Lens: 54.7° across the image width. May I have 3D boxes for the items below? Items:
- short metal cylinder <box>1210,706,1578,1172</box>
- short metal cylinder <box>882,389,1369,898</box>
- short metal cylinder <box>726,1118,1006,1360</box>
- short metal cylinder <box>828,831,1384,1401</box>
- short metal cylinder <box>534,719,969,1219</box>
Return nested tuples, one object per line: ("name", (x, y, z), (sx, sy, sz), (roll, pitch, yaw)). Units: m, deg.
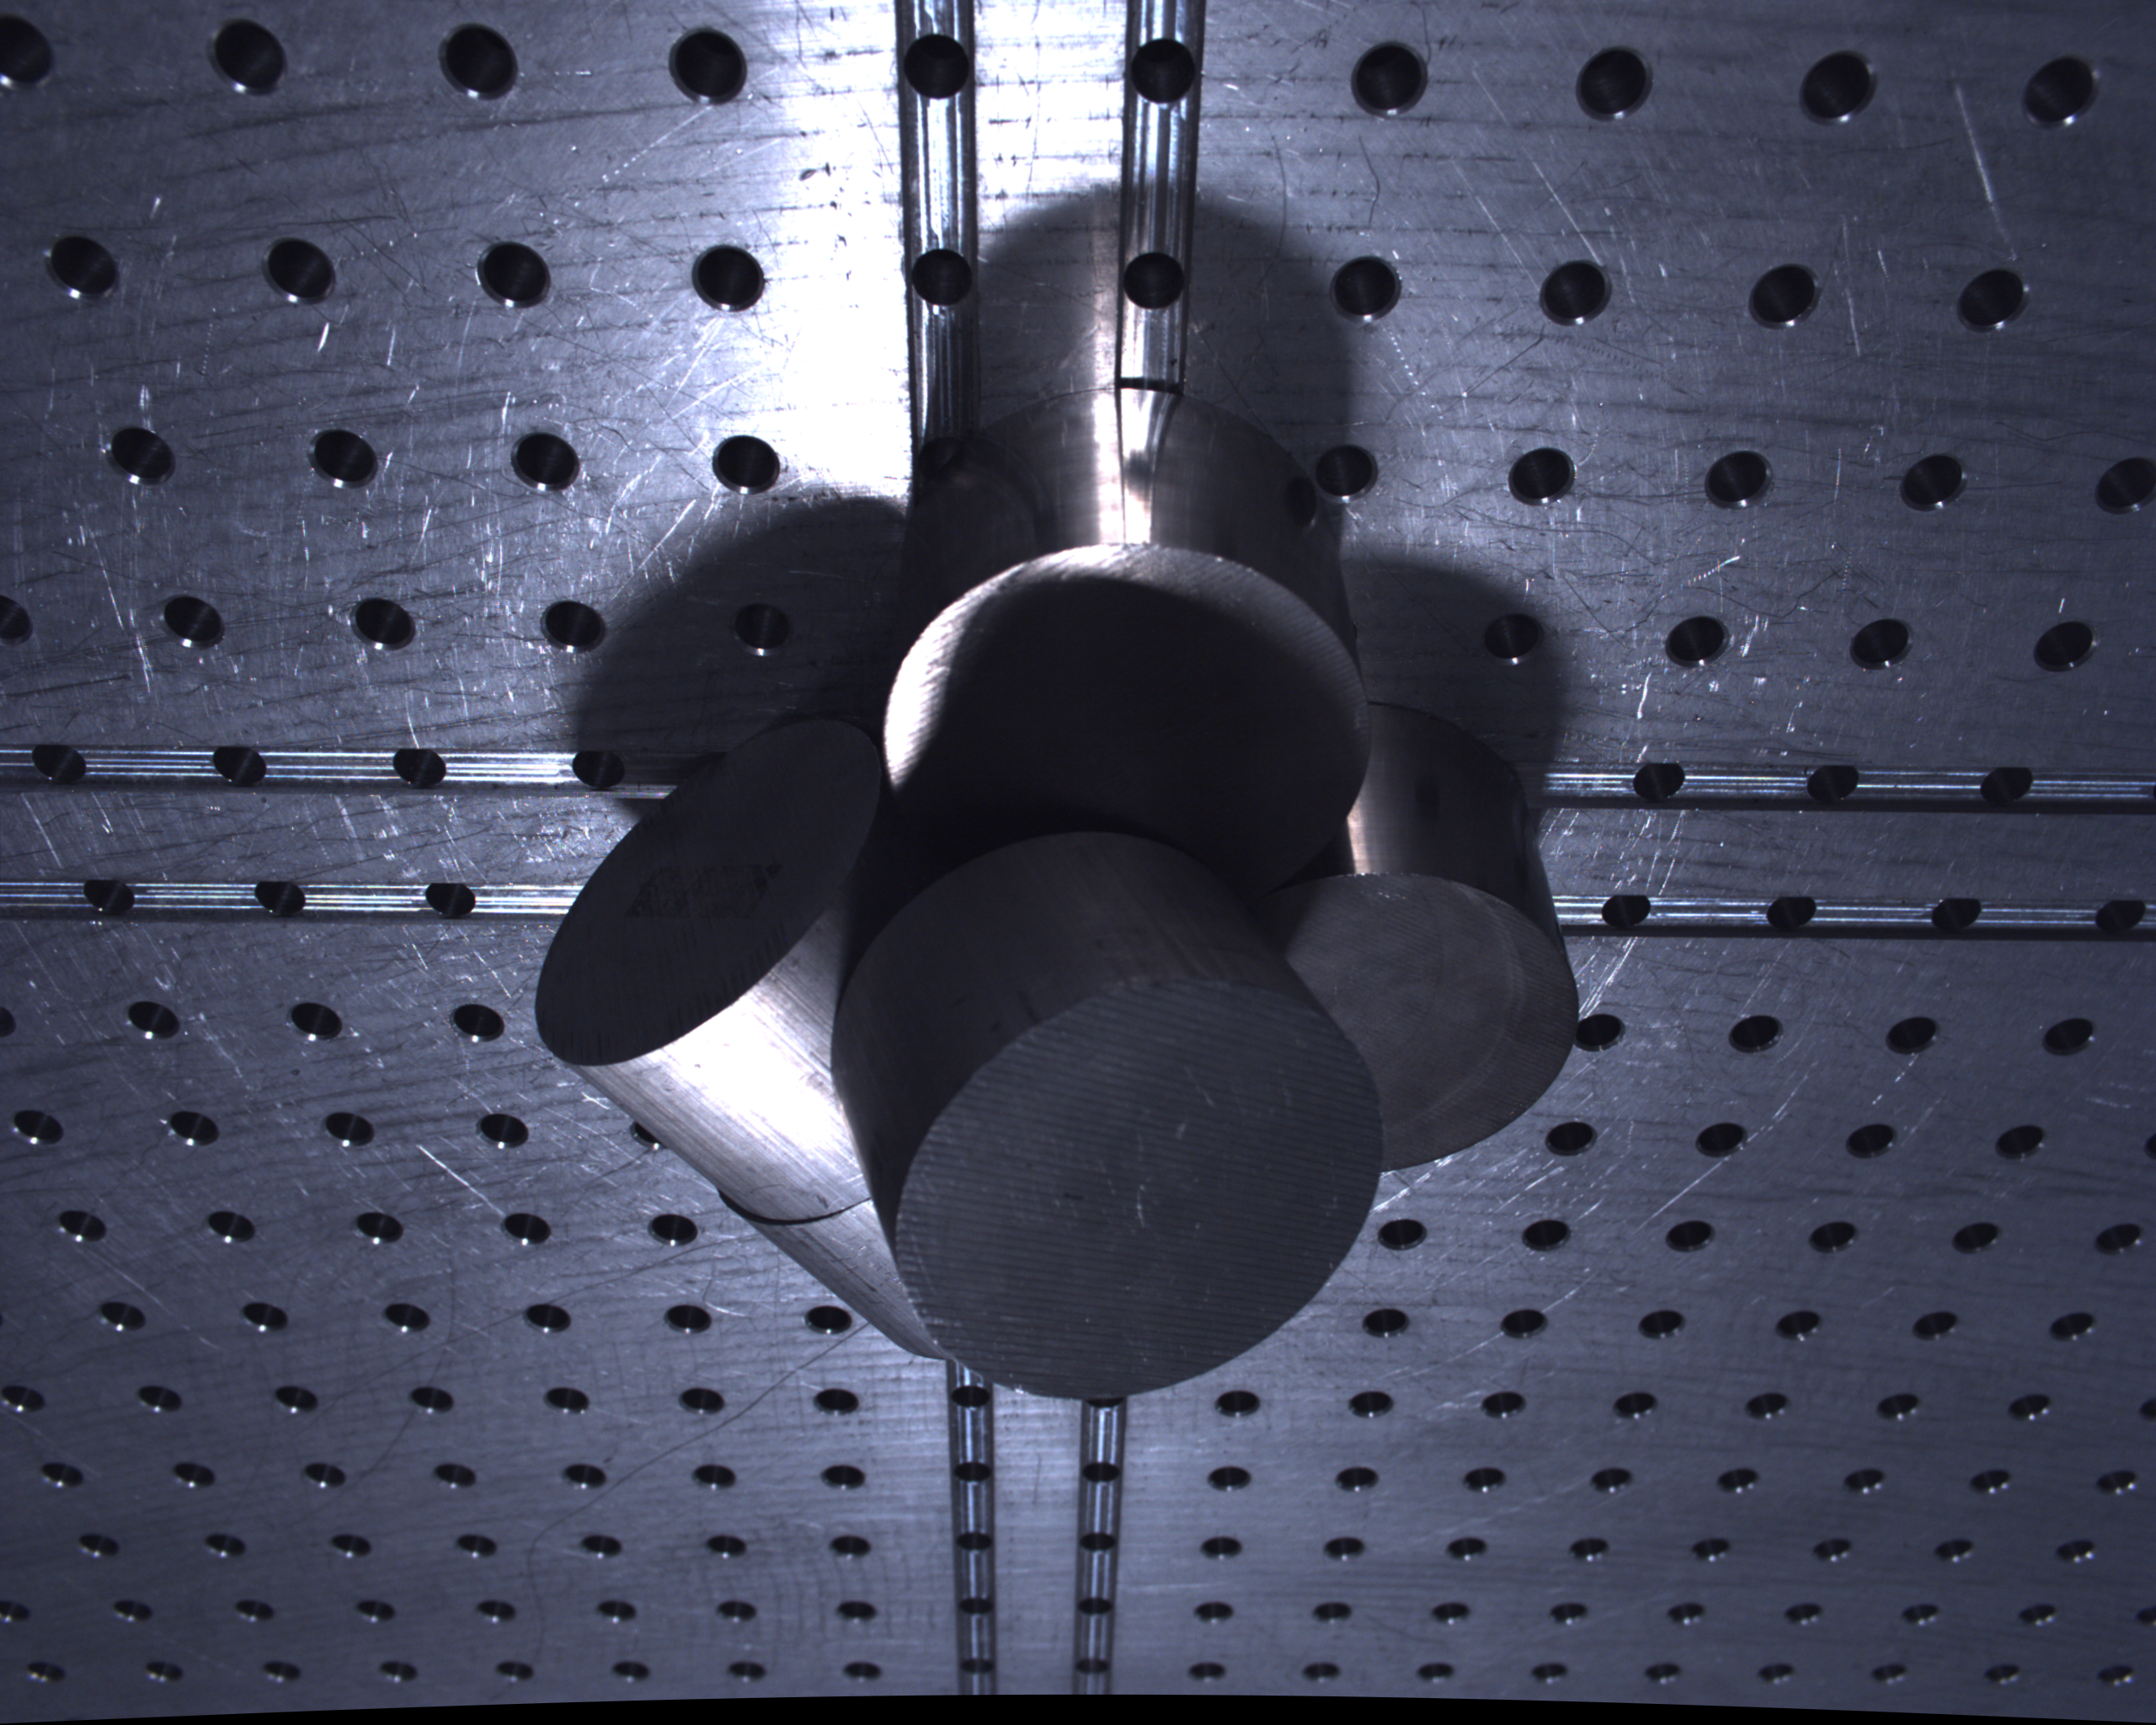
("short metal cylinder", (0.053, 0.016, 0.408), (0.081, 0.050, 0.079), (0, 130, 0))
("short metal cylinder", (0.008, -0.035, 0.364), (0.081, 0.050, 0.079), (0, 130, 0))
("short metal cylinder", (-0.027, 0.052, 0.419), (0.080, 0.080, 0.050), (-27, 125, 20))
("short metal cylinder", (0.003, 0.041, 0.346), (0.081, 0.050, 0.079), (-9, 119, -16))
("short metal cylinder", (-0.054, 0.019, 0.391), (0.080, 0.080, 0.050), (-27, 125, 21))
